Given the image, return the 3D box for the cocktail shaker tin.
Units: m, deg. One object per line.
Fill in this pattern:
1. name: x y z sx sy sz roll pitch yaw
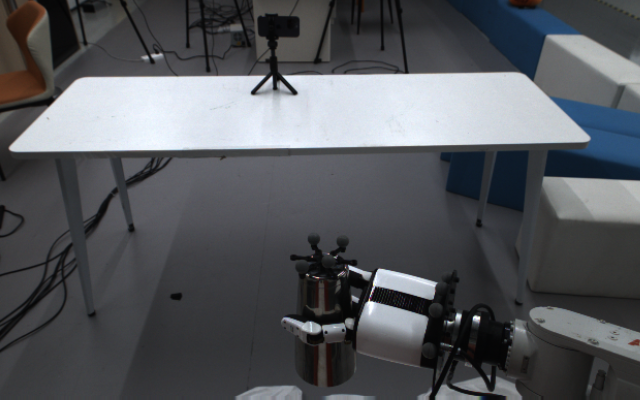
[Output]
1. cocktail shaker tin: 0.009 0.162 0.673 0.093 0.170 0.093 -1 26 1
